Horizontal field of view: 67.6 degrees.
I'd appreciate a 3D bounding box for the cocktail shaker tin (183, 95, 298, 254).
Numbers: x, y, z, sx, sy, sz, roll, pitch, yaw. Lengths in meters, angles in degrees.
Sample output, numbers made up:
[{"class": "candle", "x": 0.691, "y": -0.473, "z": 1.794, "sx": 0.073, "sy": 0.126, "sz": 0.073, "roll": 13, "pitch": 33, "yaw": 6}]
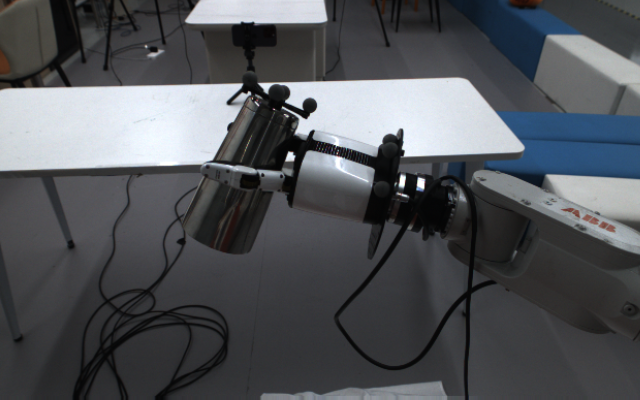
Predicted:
[{"class": "cocktail shaker tin", "x": -0.087, "y": -0.033, "z": 0.574, "sx": 0.093, "sy": 0.170, "sz": 0.093, "roll": 24, "pitch": 12, "yaw": -6}]
